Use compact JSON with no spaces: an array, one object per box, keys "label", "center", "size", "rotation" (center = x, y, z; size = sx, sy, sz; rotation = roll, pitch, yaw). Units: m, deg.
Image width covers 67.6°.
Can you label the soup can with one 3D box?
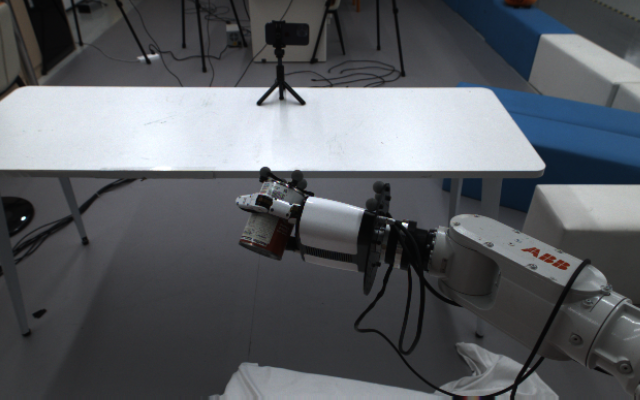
[{"label":"soup can","center":[-0.069,0.030,0.709],"size":[0.067,0.067,0.101],"rotation":[16,75,19]}]
